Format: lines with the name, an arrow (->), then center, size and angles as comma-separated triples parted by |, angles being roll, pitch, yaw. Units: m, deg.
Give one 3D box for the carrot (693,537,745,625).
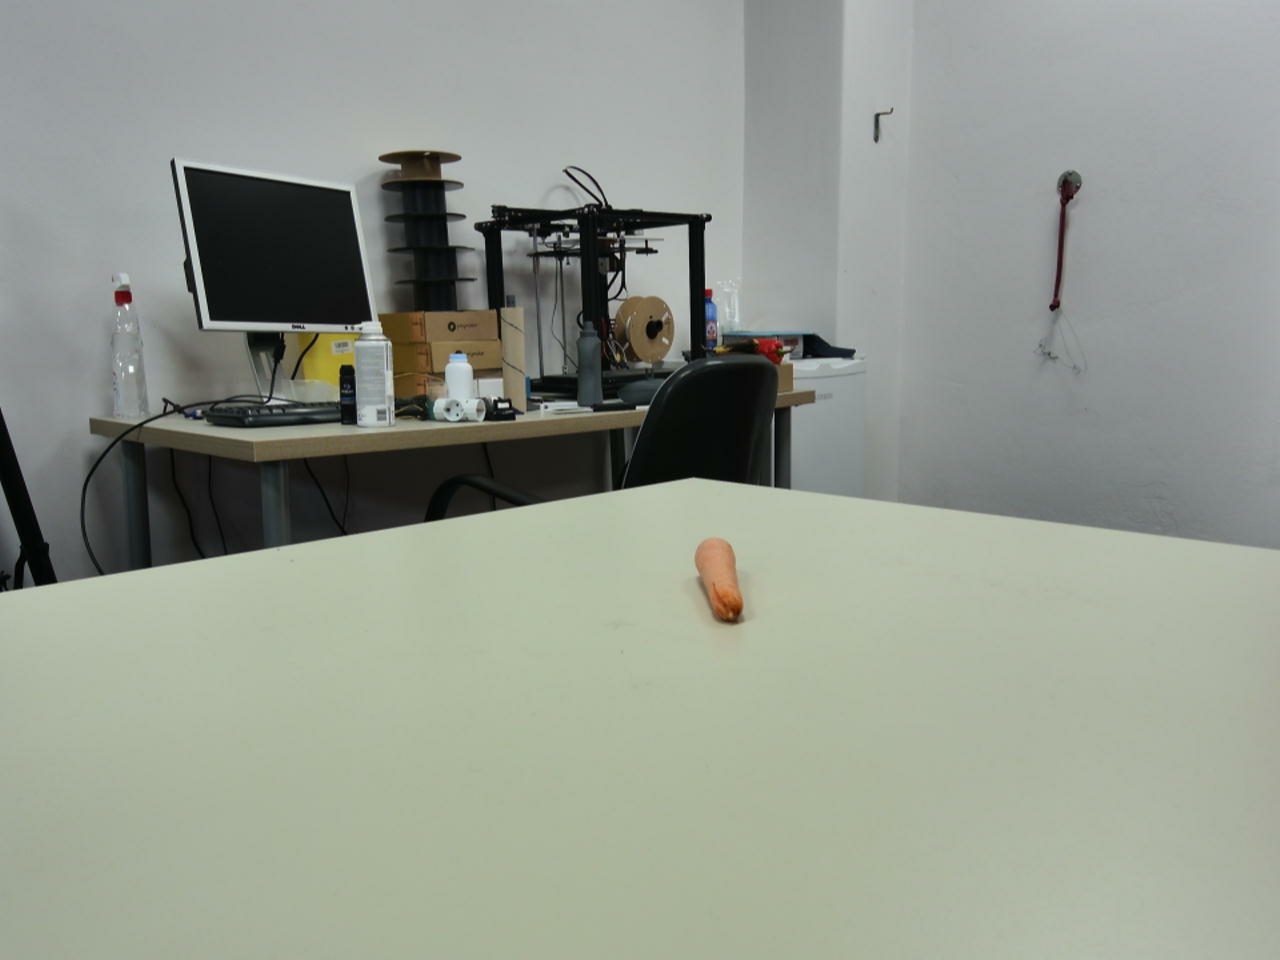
carrot -> 0.052, 0.062, 0.652 | 0.030, 0.032, 0.136 | 1, 7, 1
